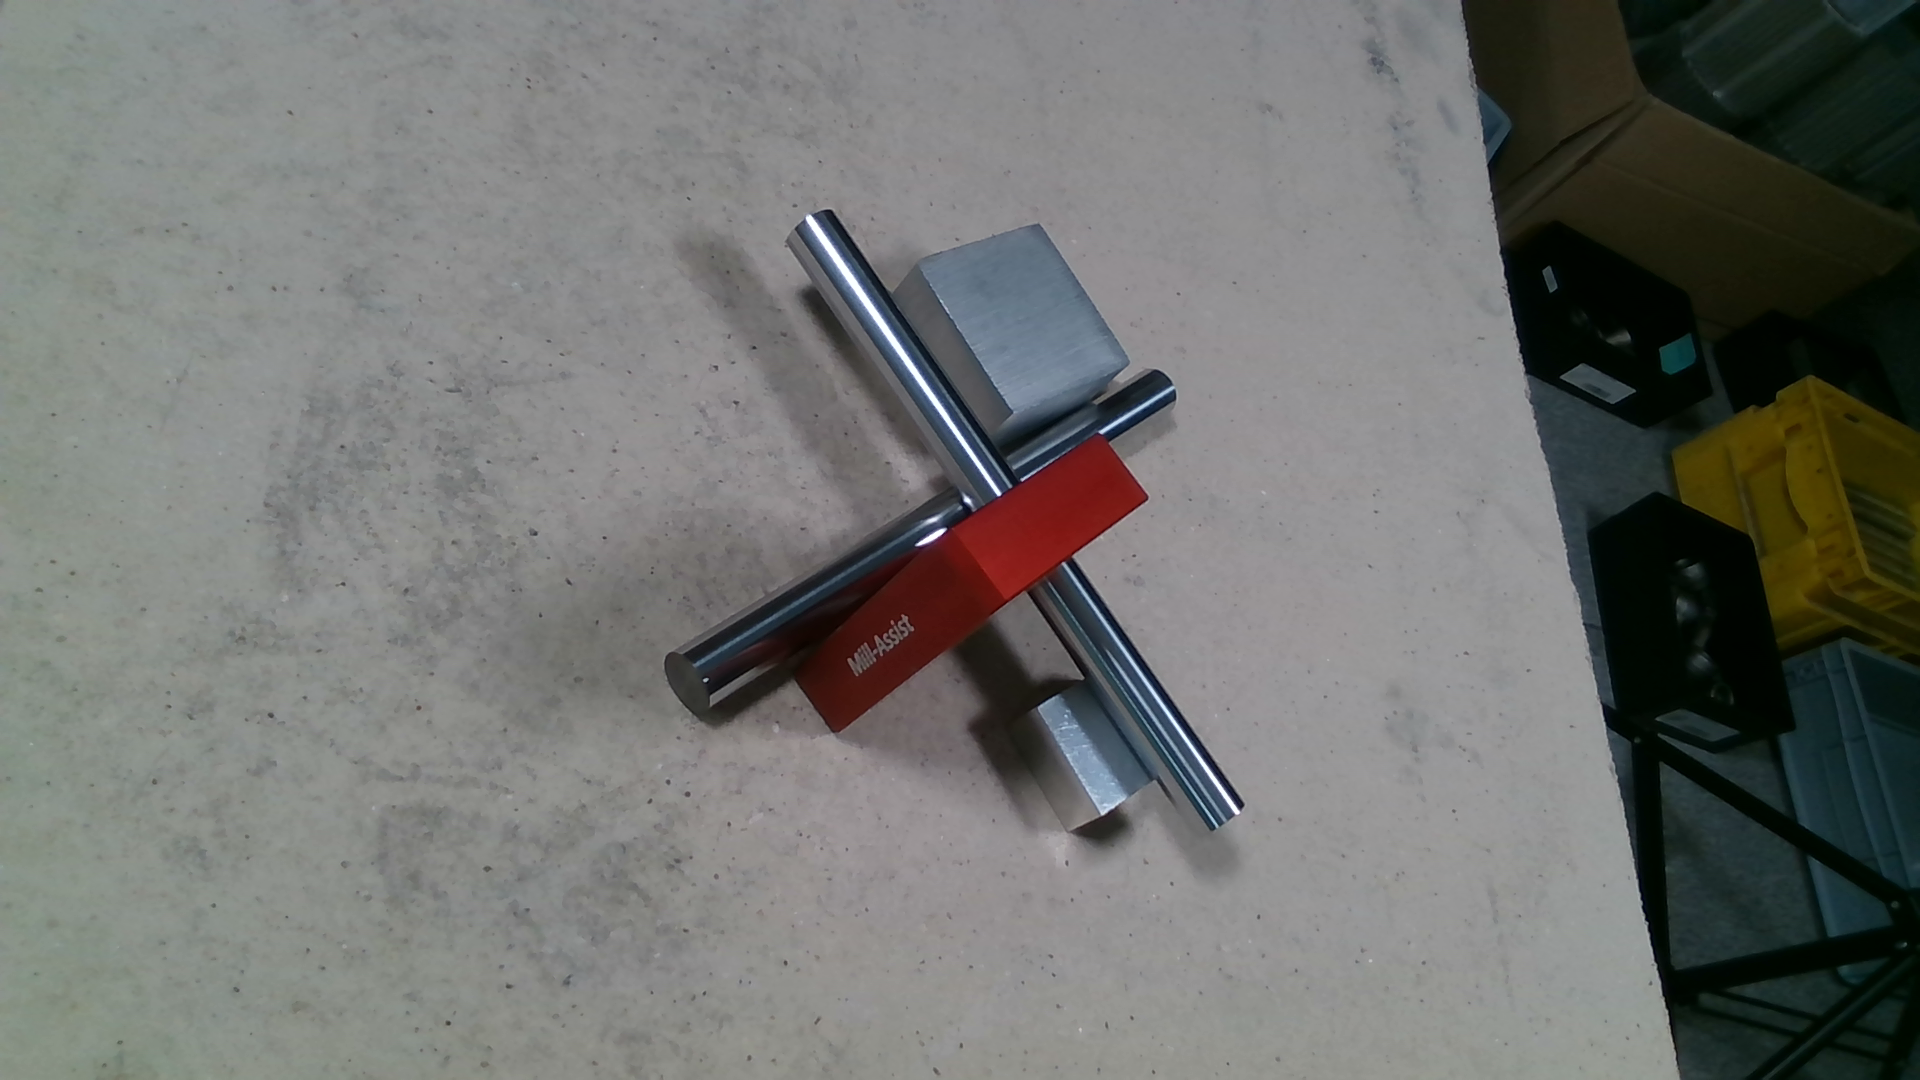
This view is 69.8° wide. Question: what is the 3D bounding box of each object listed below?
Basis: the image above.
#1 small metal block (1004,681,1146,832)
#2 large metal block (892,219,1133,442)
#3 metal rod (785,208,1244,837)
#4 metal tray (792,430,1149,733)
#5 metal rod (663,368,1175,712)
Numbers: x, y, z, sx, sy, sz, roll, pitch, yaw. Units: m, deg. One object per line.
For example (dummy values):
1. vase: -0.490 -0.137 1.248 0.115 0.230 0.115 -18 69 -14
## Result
1. small metal block: 0.055 0.085 0.574 0.050 0.025 0.050 -25 80 -38
2. large metal block: 0.018 -0.091 0.629 0.080 0.050 0.080 -26 81 -38
3. metal rod: 0.020 -0.010 0.571 0.025 0.025 0.300 -30 83 -39
4. metal tray: 0.002 0.018 0.509 0.090 0.130 0.030 -33 84 -39
5. metal rod: -0.001 -0.011 0.592 0.300 0.025 0.025 -33 85 -39
